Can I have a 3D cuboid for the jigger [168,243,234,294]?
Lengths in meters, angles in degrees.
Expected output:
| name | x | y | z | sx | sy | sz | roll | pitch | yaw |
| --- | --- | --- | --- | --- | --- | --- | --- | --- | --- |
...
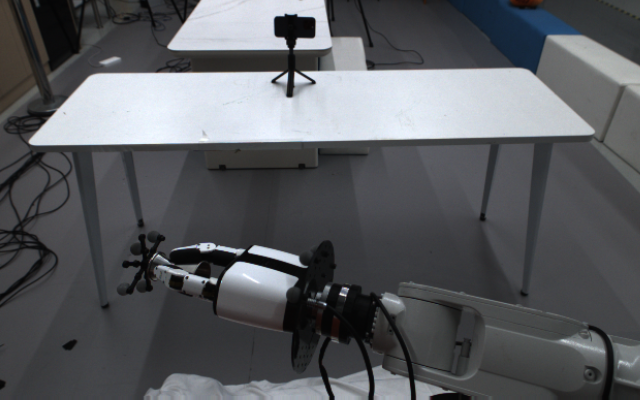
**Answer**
| name | x | y | z | sx | sy | sz | roll | pitch | yaw |
| --- | --- | --- | --- | --- | --- | --- | --- | --- | --- |
| jigger | -0.177 | 0.090 | 0.625 | 0.071 | 0.043 | 0.043 | 10 | 35 | 16 |
